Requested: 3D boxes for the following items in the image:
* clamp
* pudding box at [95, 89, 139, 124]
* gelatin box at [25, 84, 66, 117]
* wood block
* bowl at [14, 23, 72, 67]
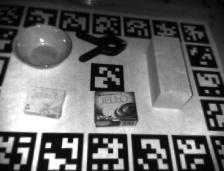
[{"bbox_3d":[-0.042,-0.136,0.703,0.166,0.036,0.121,-6,61,-15],"label":"clamp"},{"bbox_3d":[0.012,0.057,0.591,0.114,0.039,0.089,1,64,-7],"label":"pudding box"},{"bbox_3d":[-0.173,0.039,0.572,0.089,0.030,0.073,10,61,-4],"label":"gelatin box"},{"bbox_3d":[0.171,-0.048,0.650,0.090,0.091,0.205,6,60,-7],"label":"wood block"},{"bbox_3d":[-0.200,-0.113,0.648,0.162,0.055,0.161,5,62,-9],"label":"bowl"}]
